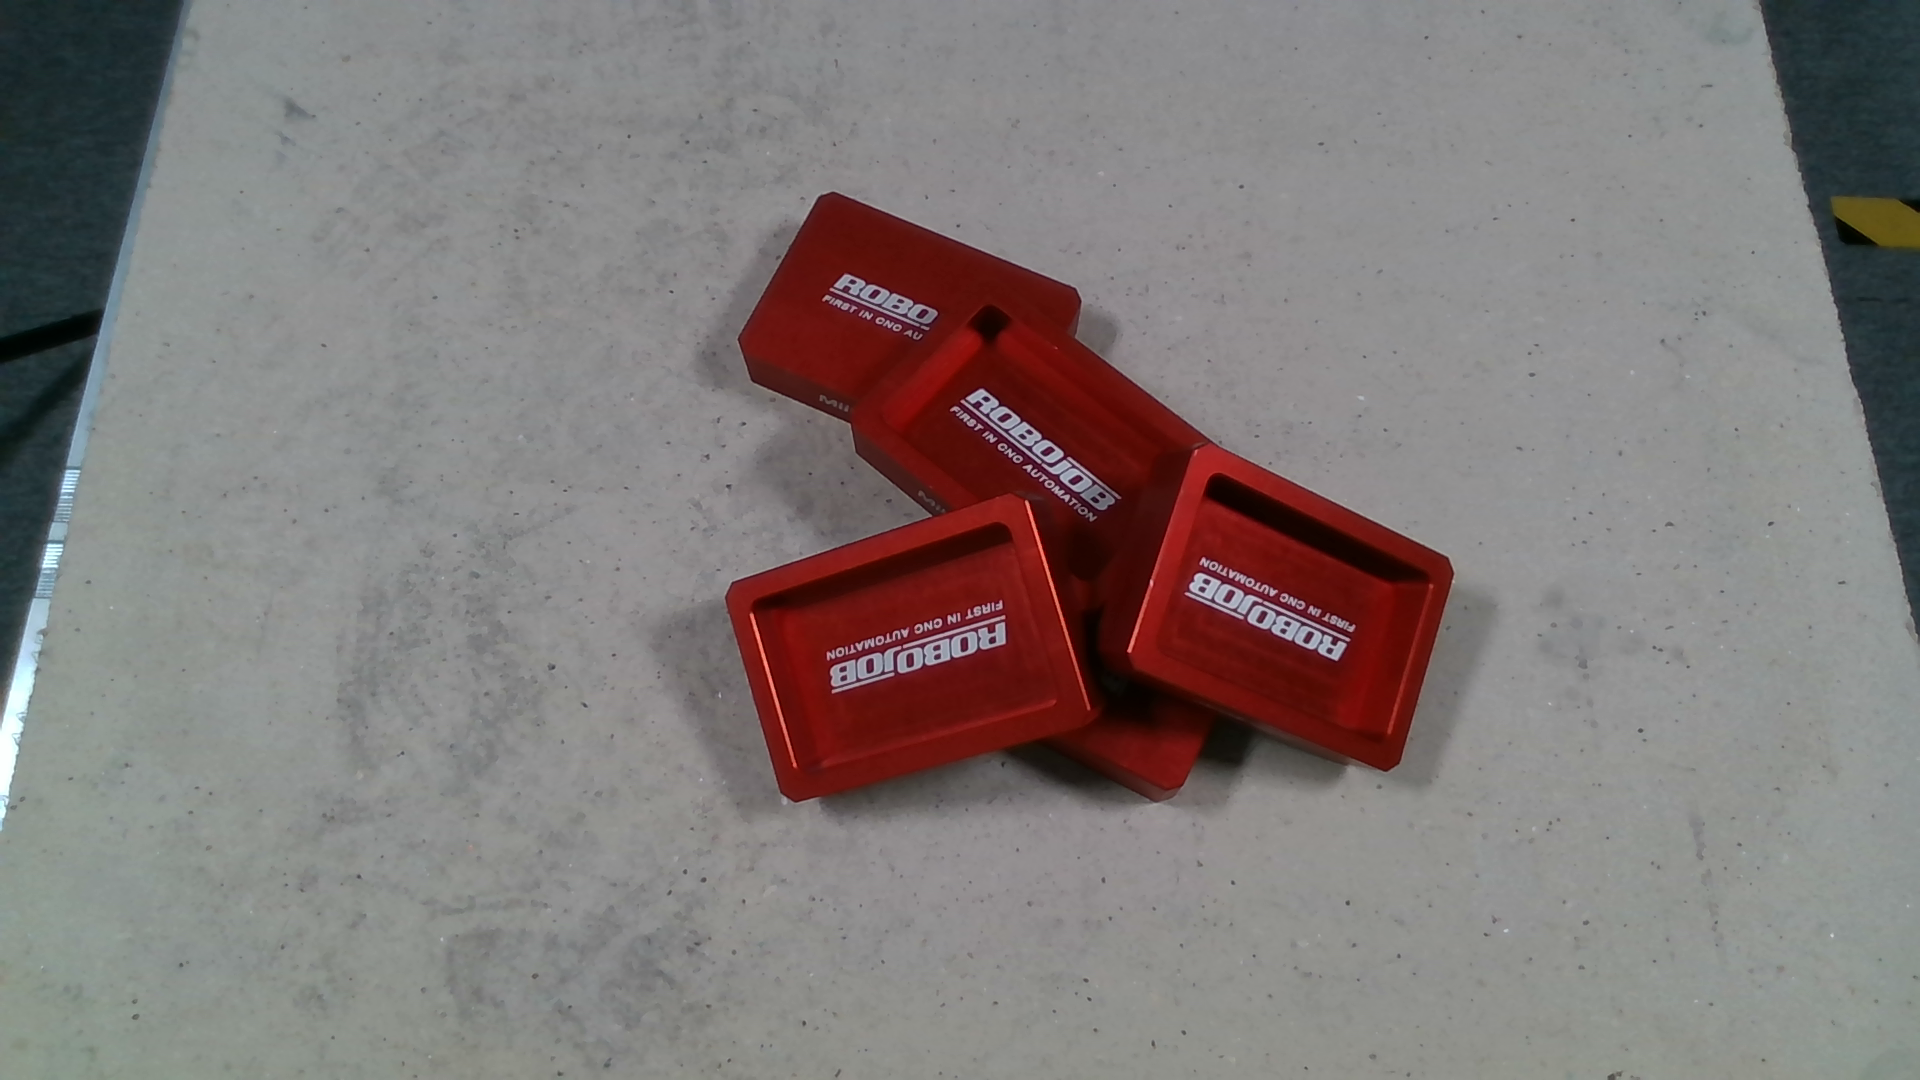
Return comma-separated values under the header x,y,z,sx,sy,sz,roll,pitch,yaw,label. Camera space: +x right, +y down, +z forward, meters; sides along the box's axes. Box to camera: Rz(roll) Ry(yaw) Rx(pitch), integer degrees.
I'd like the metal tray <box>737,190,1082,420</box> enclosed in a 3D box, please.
x,y,z,sx,sy,sz,roll,pitch,yaw,label
-0.022,-0.093,0.618,0.130,0.030,0.090,23,72,8,metal tray

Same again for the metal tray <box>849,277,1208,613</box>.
x,y,z,sx,sy,sz,roll,pitch,yaw,label
0.030,-0.037,0.567,0.130,0.030,0.090,39,75,13,metal tray

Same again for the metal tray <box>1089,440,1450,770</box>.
x,y,z,sx,sy,sz,roll,pitch,yaw,label
0.123,0.027,0.540,0.130,0.030,0.090,23,81,-21,metal tray

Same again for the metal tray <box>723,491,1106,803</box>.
x,y,z,sx,sy,sz,roll,pitch,yaw,label
-0.019,0.042,0.534,0.130,0.030,0.090,-18,87,18,metal tray

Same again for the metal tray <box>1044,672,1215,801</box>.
x,y,z,sx,sy,sz,roll,pitch,yaw,label
0.074,0.031,0.575,0.090,0.030,0.130,26,72,9,metal tray
